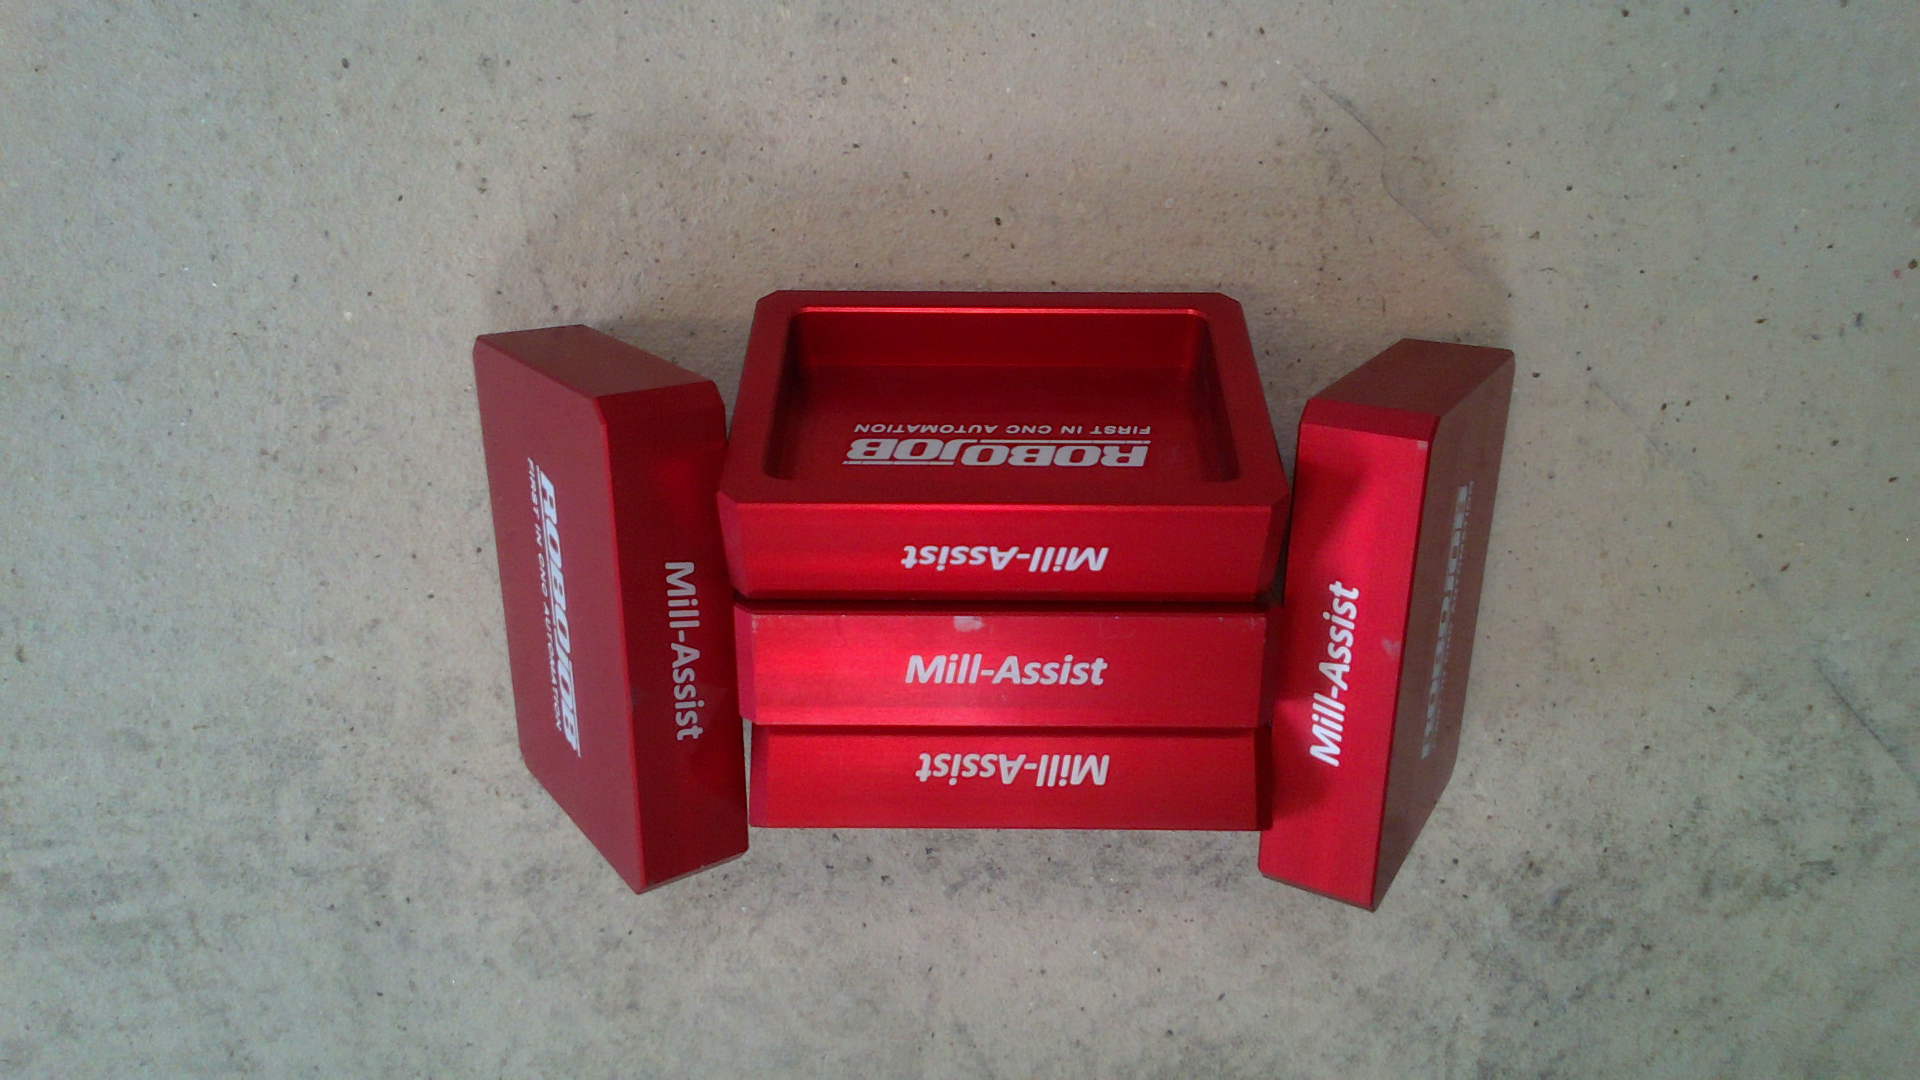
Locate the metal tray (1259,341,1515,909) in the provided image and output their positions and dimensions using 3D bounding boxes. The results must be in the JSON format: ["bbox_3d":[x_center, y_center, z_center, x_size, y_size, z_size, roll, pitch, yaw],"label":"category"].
[{"bbox_3d":[0.114,0.019,0.366,0.030,0.090,0.130,13,113,29],"label":"metal tray"}]

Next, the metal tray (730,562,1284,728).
[{"bbox_3d":[0.011,0.015,0.365,0.130,0.090,0.030,0,110,0],"label":"metal tray"}]

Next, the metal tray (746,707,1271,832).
[{"bbox_3d":[0.012,0.063,0.382,0.130,0.090,0.030,1,81,0],"label":"metal tray"}]

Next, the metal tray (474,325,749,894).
[{"bbox_3d":[-0.093,0.015,0.366,0.030,0.090,0.130,-14,115,-34],"label":"metal tray"}]

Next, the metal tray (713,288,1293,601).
[{"bbox_3d":[0.010,-0.027,0.347,0.130,0.090,0.030,0,132,0],"label":"metal tray"}]
